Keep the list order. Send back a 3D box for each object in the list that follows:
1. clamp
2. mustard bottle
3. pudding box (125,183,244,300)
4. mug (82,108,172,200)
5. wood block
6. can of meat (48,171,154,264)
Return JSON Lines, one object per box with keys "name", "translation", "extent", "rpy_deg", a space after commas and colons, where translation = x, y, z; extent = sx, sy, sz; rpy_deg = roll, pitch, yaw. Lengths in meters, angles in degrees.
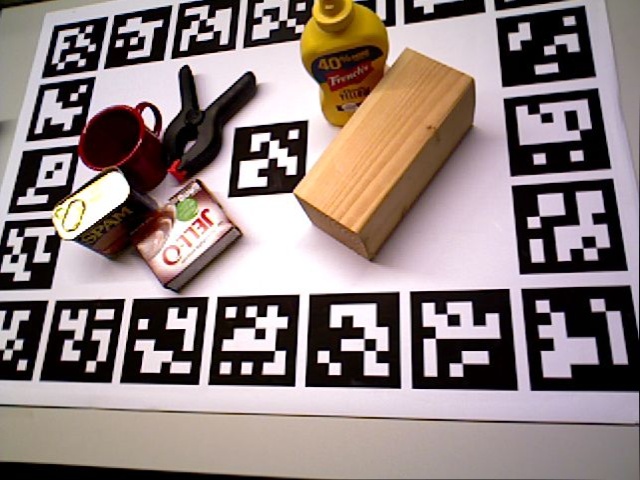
{"name": "clamp", "translation": [-0.159, -0.155, 0.709], "extent": [0.122, 0.037, 0.164], "rpy_deg": [16, 78, 18]}
{"name": "mustard bottle", "translation": [0.031, -0.198, 0.581], "extent": [0.096, 0.192, 0.058], "rpy_deg": [-8, 69, 12]}
{"name": "pudding box", "translation": [-0.160, 0.002, 0.649], "extent": [0.113, 0.039, 0.090], "rpy_deg": [-40, 67, -3]}
{"name": "mug", "translation": [-0.241, -0.115, 0.712], "extent": [0.093, 0.082, 0.116], "rpy_deg": [19, 78, 20]}
{"name": "wood block", "translation": [0.080, -0.084, 0.589], "extent": [0.090, 0.091, 0.205], "rpy_deg": [35, 81, 25]}
{"name": "can of meat", "translation": [-0.261, -0.023, 0.655], "extent": [0.102, 0.084, 0.057], "rpy_deg": [-32, 67, 2]}
